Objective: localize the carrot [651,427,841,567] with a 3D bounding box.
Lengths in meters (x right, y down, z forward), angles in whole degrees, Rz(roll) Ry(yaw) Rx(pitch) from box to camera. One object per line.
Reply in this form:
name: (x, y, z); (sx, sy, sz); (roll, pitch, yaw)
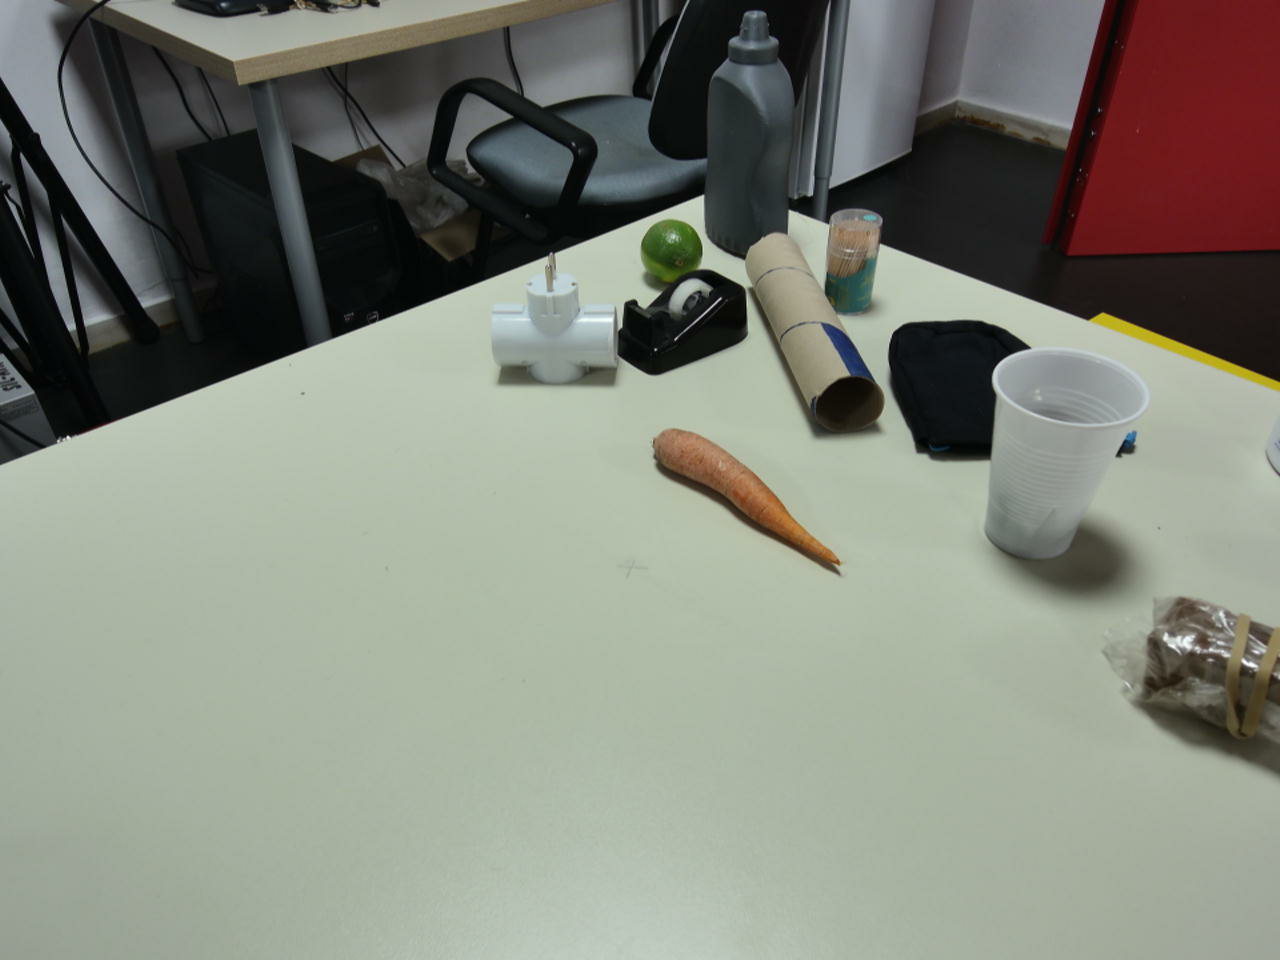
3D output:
carrot: (0.066, 0.006, 0.628); (0.031, 0.029, 0.163); (-27, 45, -32)
